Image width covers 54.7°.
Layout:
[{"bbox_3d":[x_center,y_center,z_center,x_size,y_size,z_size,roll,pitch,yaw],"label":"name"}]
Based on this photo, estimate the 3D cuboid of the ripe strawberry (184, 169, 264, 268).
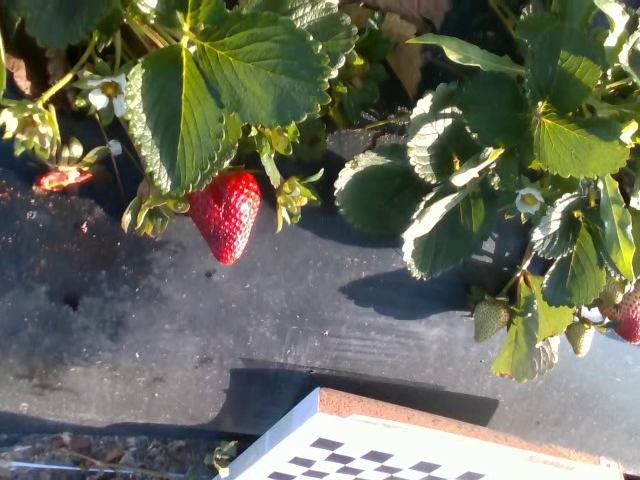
[{"bbox_3d":[-0.055,-0.009,0.347,0.052,0.051,0.041,-2,-7,4],"label":"ripe strawberry"}]
